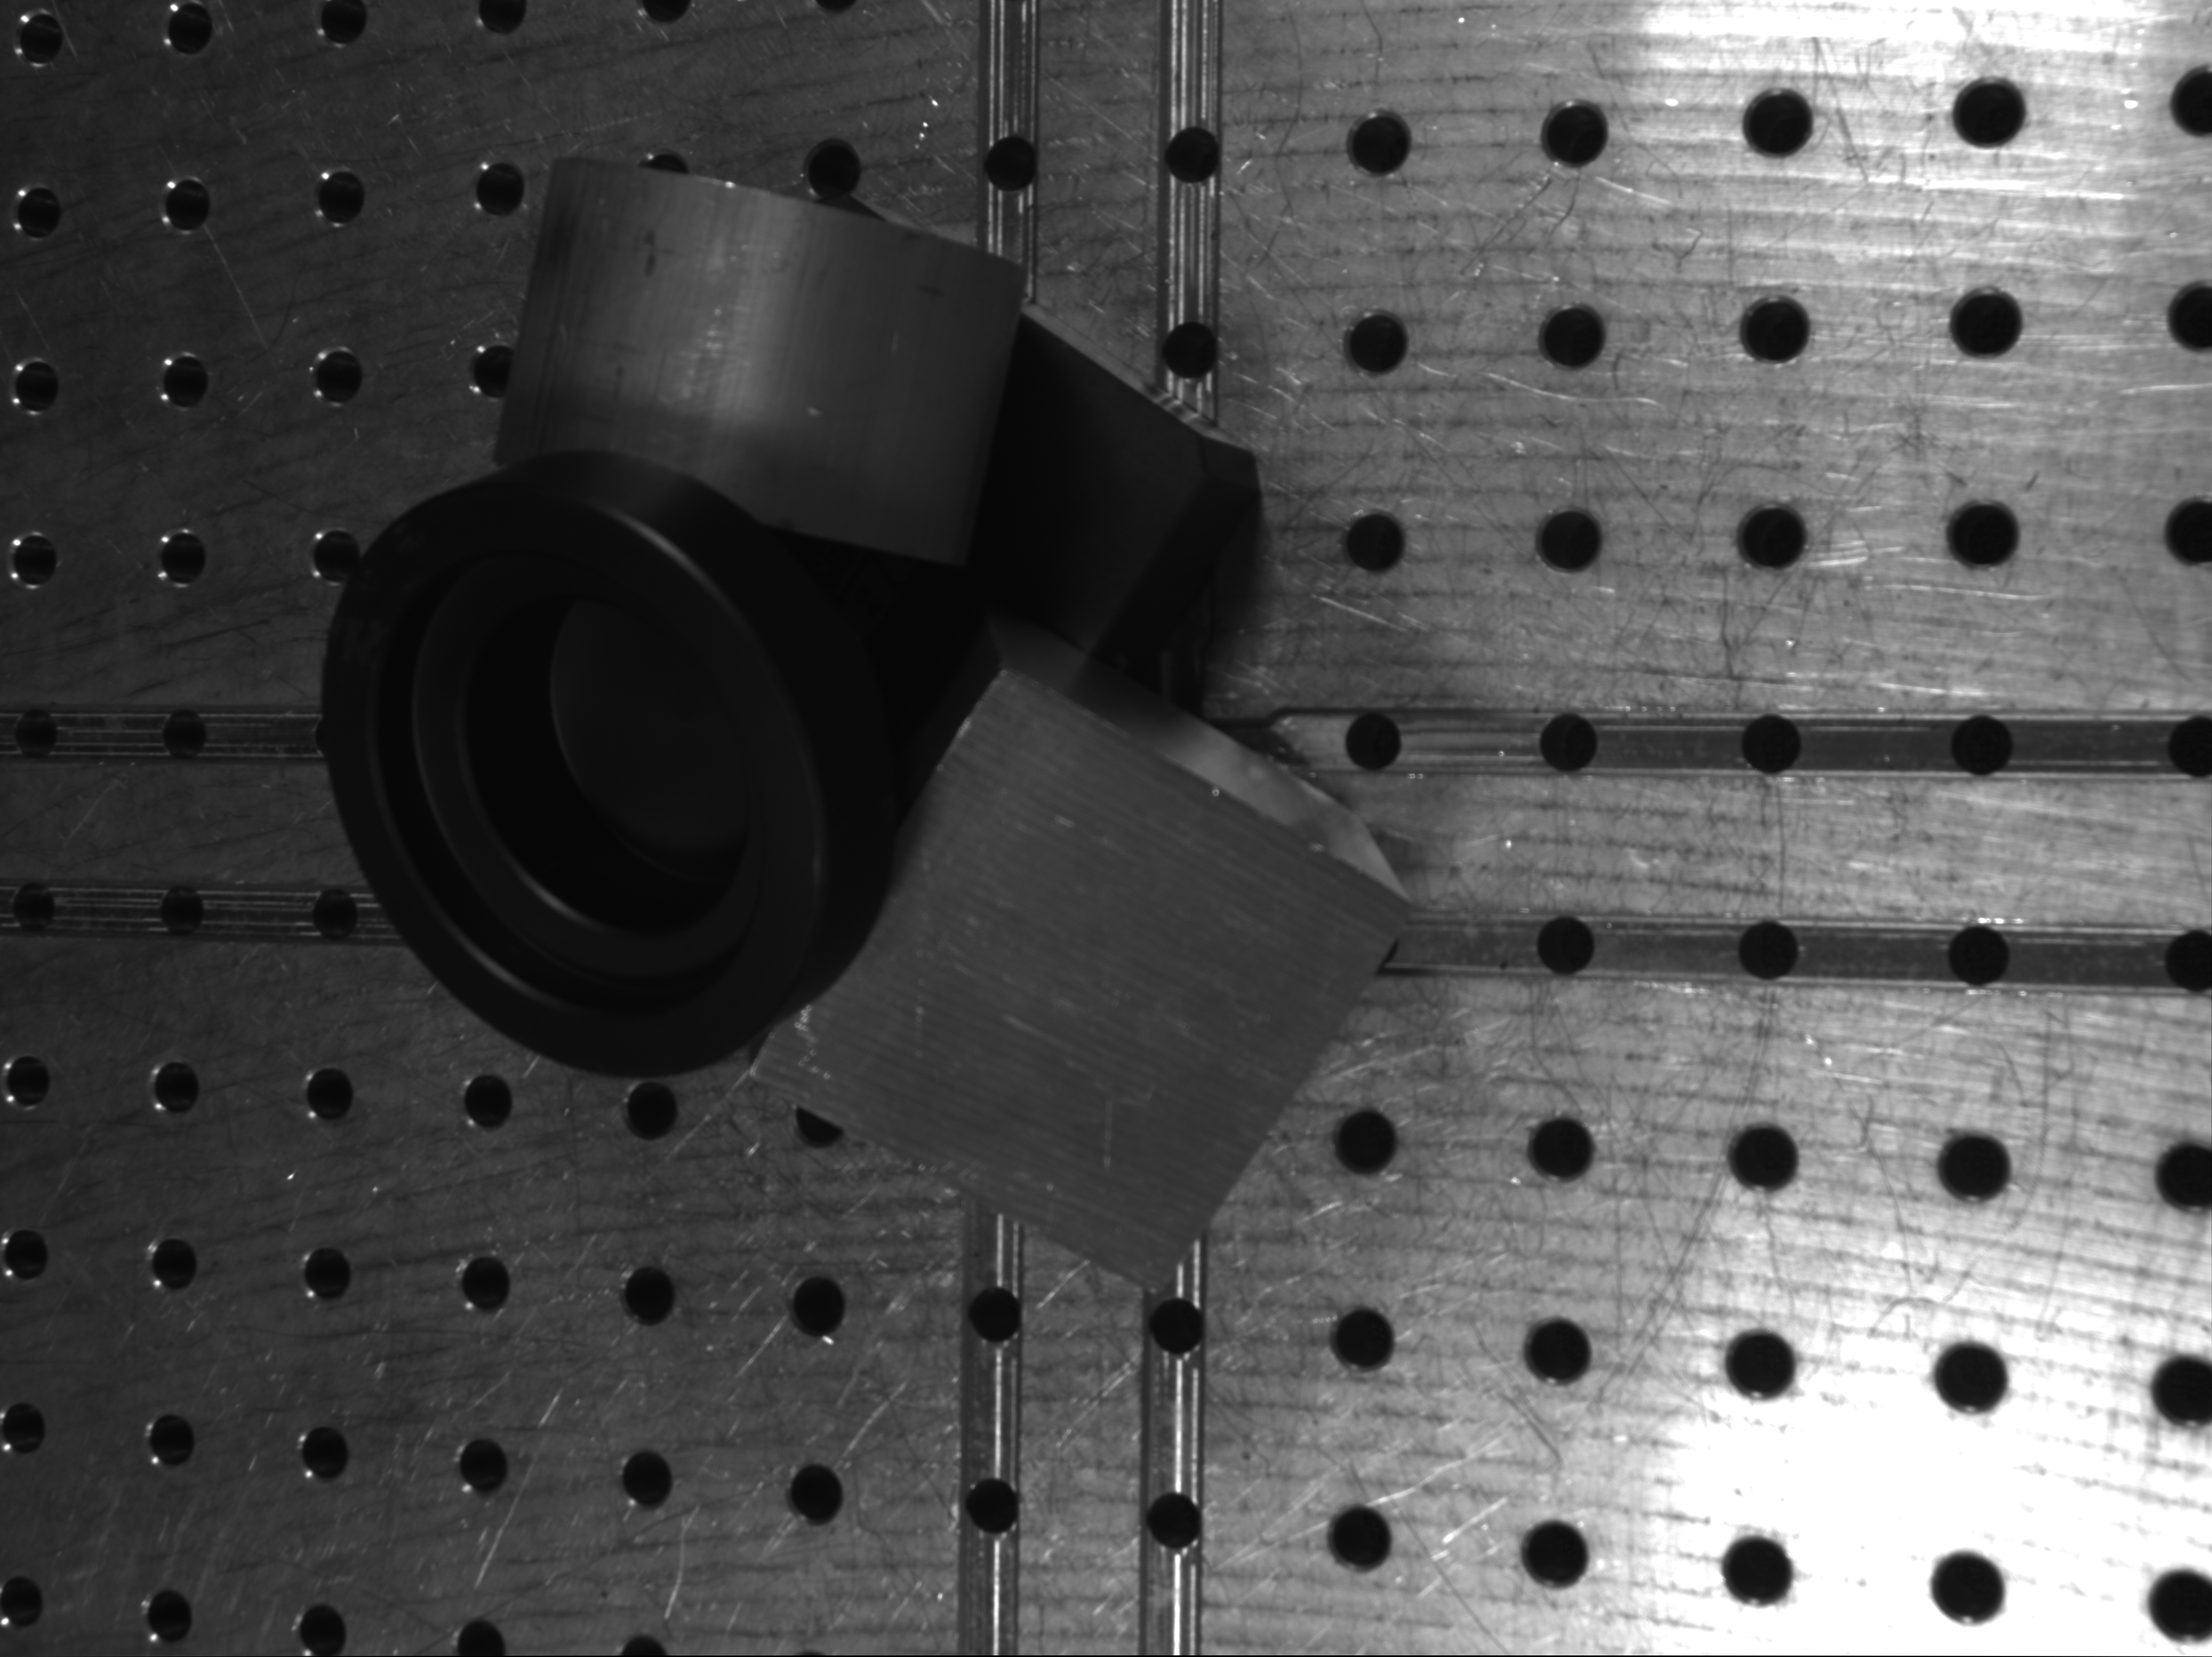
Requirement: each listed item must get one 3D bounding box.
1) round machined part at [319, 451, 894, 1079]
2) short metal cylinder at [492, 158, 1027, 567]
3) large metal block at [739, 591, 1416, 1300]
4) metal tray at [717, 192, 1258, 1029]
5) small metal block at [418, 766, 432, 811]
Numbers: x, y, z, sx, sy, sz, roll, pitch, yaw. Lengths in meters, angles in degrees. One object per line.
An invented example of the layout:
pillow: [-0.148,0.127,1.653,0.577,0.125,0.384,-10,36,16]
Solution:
round machined part: [-0.074,-0.013,0.585,0.098,0.042,0.098,12,116,27]
short metal cylinder: [-0.057,-0.076,0.606,0.080,0.080,0.050,14,95,19]
large metal block: [-0.007,0.019,0.617,0.080,0.050,0.080,30,101,-14]
metal tray: [-0.045,-0.036,0.661,0.090,0.030,0.130,36,101,16]
small metal block: [-0.103,-0.023,0.637,0.025,0.050,0.050,20,97,19]
